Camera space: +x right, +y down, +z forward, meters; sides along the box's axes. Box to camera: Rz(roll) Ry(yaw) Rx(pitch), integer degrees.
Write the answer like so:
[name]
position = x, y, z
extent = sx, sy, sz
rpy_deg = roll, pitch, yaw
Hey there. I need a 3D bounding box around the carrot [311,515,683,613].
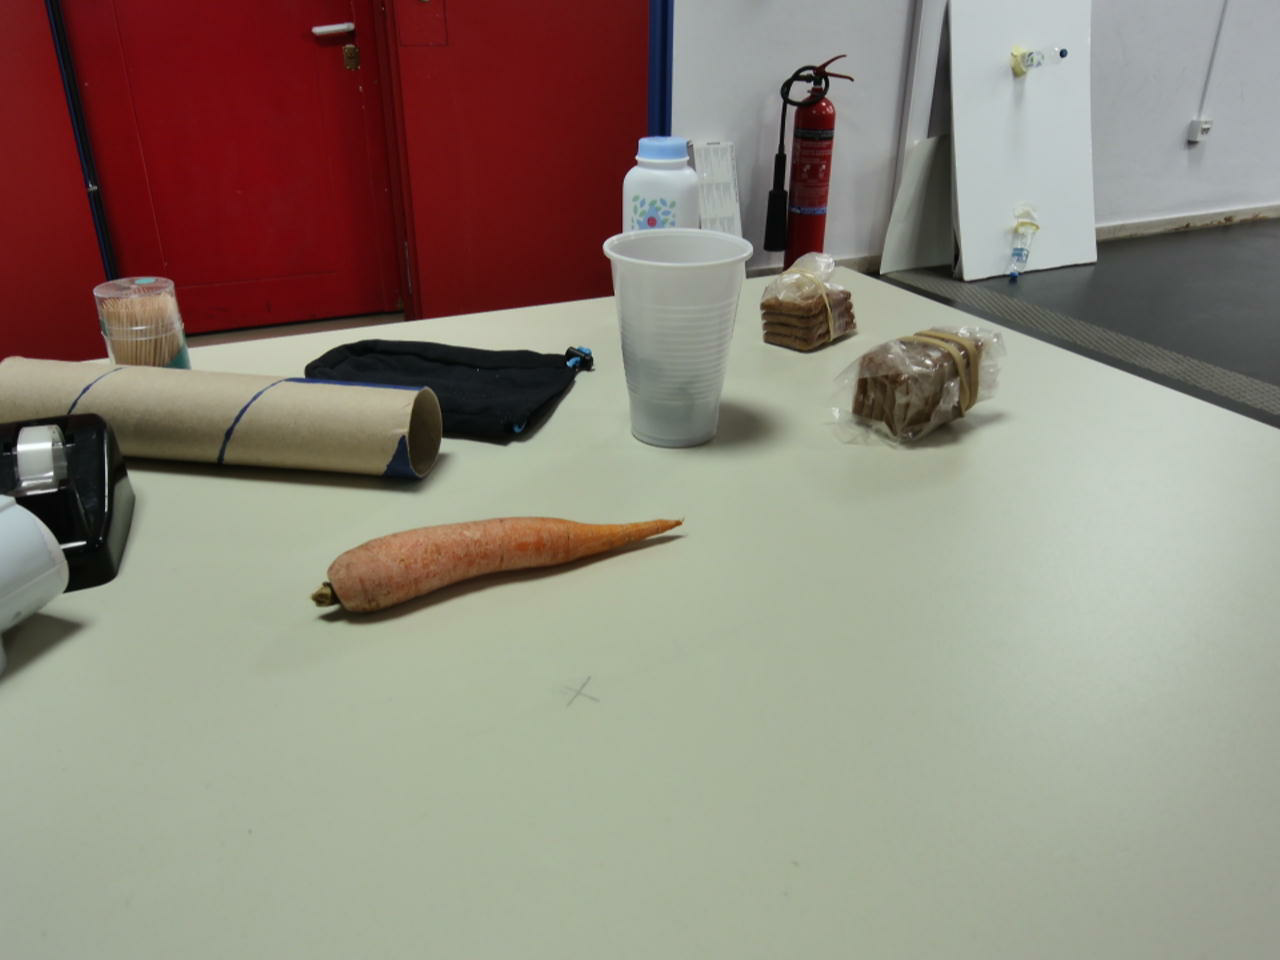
[carrot]
position = -0.057, 0.028, 0.428
extent = 0.163, 0.029, 0.031
rpy_deg = -12, 27, -24
